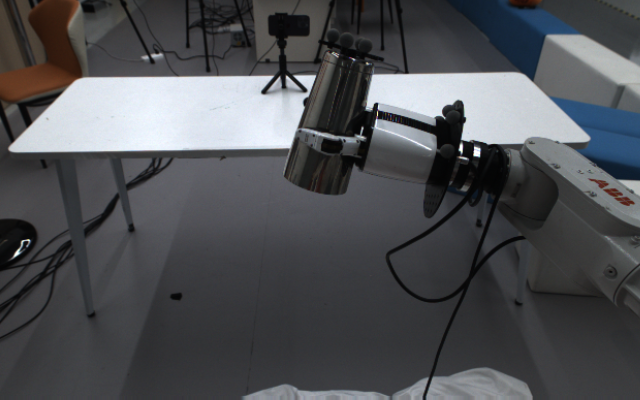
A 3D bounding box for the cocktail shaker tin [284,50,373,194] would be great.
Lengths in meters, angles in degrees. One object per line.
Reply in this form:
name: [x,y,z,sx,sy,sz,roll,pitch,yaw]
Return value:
cocktail shaker tin: [0.016,-0.103,0.638,0.093,0.170,0.093,15,20,-5]
